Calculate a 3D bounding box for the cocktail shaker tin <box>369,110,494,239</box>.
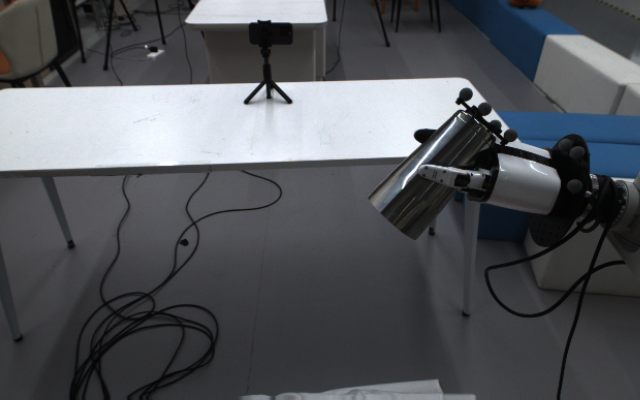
[{"bbox_3d":[0.157,-0.042,0.666,0.093,0.170,0.093,41,12,-11],"label":"cocktail shaker tin"}]
